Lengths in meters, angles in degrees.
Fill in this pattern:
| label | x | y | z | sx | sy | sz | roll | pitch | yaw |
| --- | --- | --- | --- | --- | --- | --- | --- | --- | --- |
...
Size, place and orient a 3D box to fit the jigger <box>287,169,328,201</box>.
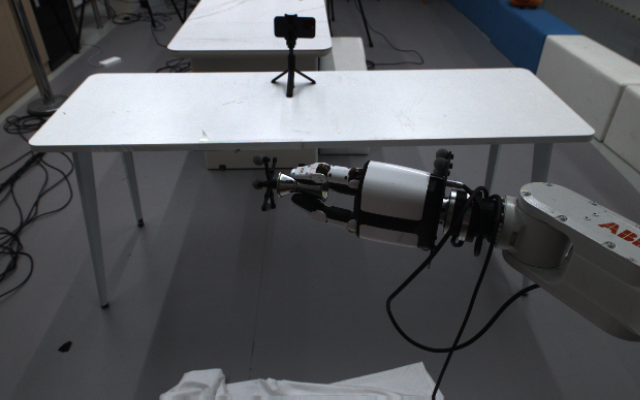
| label | x | y | z | sx | sy | sz | roll | pitch | yaw |
| --- | --- | --- | --- | --- | --- | --- | --- | --- | --- |
| jigger | -0.017 | -0.025 | 0.703 | 0.071 | 0.043 | 0.043 | 3 | 34 | 13 |
